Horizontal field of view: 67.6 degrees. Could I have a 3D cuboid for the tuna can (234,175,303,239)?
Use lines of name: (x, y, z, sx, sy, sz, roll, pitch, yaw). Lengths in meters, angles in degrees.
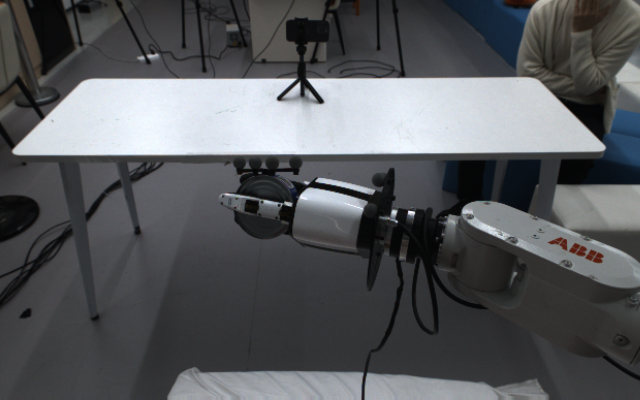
tuna can: (-0.069, 0.008, 0.648, 0.085, 0.085, 0.034, 12, 8, 14)
